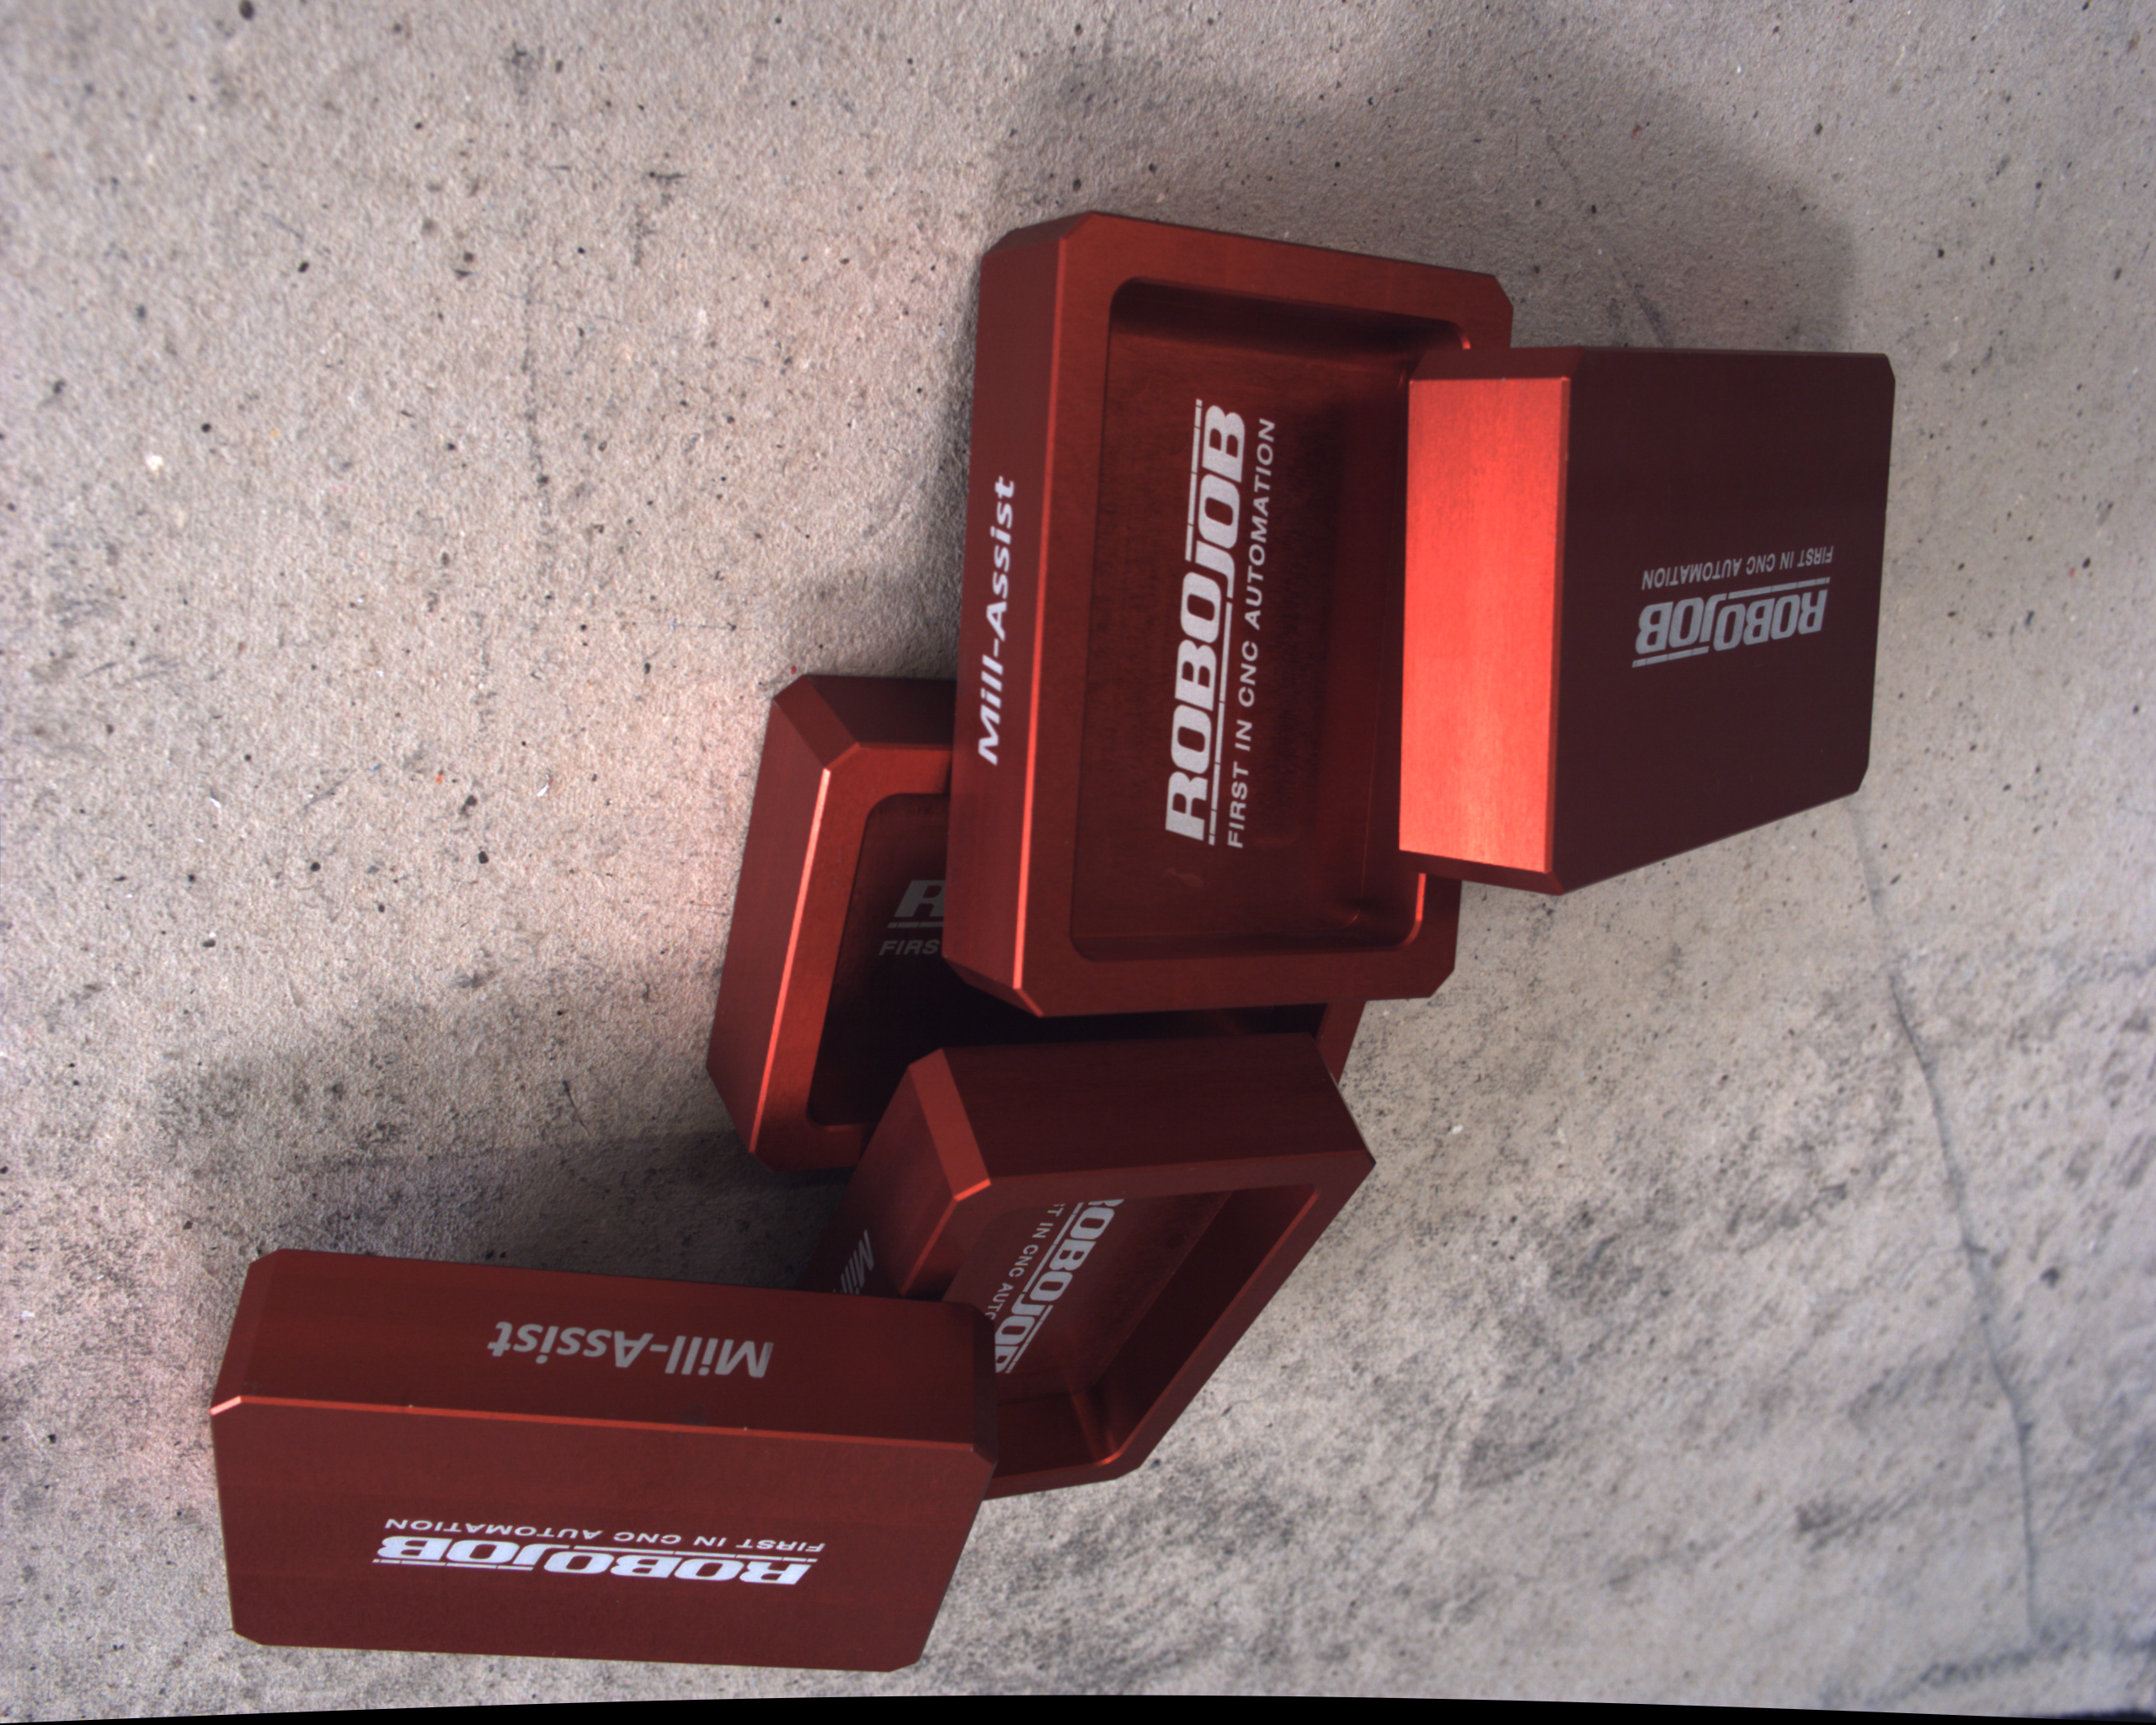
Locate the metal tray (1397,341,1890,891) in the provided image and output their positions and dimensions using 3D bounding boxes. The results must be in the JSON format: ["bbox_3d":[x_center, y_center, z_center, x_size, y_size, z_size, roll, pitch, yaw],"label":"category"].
[{"bbox_3d":[0.110,-0.051,0.392,0.131,0.030,0.089,-14,107,-46],"label":"metal tray"}]

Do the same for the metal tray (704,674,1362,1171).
[{"bbox_3d":[-0.001,0.012,0.412,0.131,0.030,0.089,0,119,-28],"label":"metal tray"}]

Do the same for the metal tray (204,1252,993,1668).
[{"bbox_3d":[-0.088,0.115,0.390,0.131,0.030,0.089,6,133,-12],"label":"metal tray"}]

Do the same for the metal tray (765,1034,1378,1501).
[{"bbox_3d":[-0.008,0.088,0.429,0.091,0.030,0.129,1,137,-29],"label":"metal tray"}]

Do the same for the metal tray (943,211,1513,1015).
[{"bbox_3d":[0.027,-0.041,0.368,0.091,0.030,0.129,-1,99,-29],"label":"metal tray"}]
